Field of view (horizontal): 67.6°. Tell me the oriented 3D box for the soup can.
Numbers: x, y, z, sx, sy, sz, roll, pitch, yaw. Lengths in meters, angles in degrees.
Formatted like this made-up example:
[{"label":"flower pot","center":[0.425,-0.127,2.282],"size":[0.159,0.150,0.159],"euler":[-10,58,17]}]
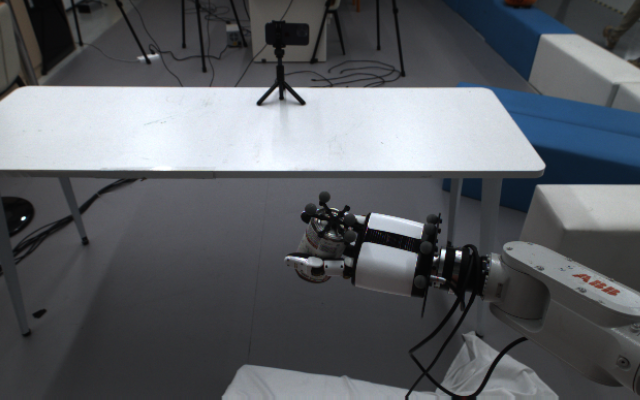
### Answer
[{"label":"soup can","center":[0.004,0.071,0.741],"size":[0.067,0.101,0.067],"euler":[14,40,-12]}]
